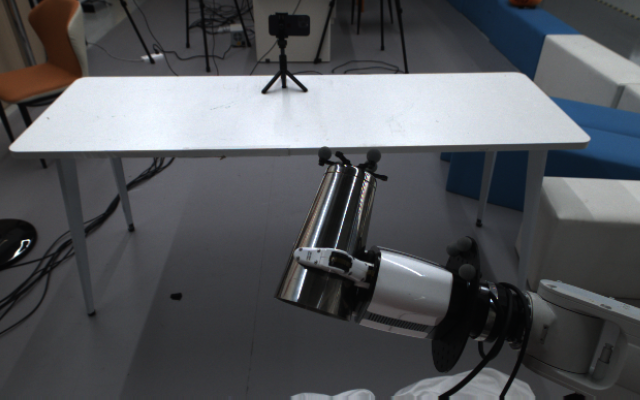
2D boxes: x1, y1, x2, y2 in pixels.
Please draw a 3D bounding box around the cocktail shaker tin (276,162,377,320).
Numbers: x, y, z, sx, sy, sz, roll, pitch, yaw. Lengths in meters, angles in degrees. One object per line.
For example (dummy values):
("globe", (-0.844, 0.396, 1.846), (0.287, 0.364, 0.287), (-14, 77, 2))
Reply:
("cocktail shaker tin", (0.015, 0.048, 0.577), (0.093, 0.093, 0.170), (13, 74, 15))
